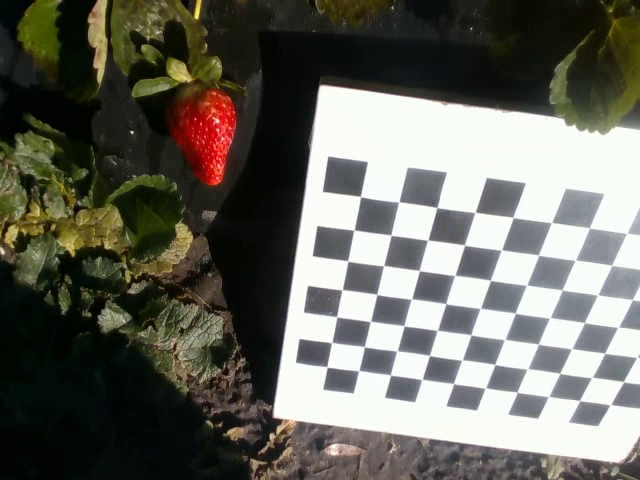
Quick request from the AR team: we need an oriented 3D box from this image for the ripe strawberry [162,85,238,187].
[{"bbox_3d":[-0.069,-0.061,0.364,0.048,0.069,0.040,-7,25,8],"label":"ripe strawberry"}]
